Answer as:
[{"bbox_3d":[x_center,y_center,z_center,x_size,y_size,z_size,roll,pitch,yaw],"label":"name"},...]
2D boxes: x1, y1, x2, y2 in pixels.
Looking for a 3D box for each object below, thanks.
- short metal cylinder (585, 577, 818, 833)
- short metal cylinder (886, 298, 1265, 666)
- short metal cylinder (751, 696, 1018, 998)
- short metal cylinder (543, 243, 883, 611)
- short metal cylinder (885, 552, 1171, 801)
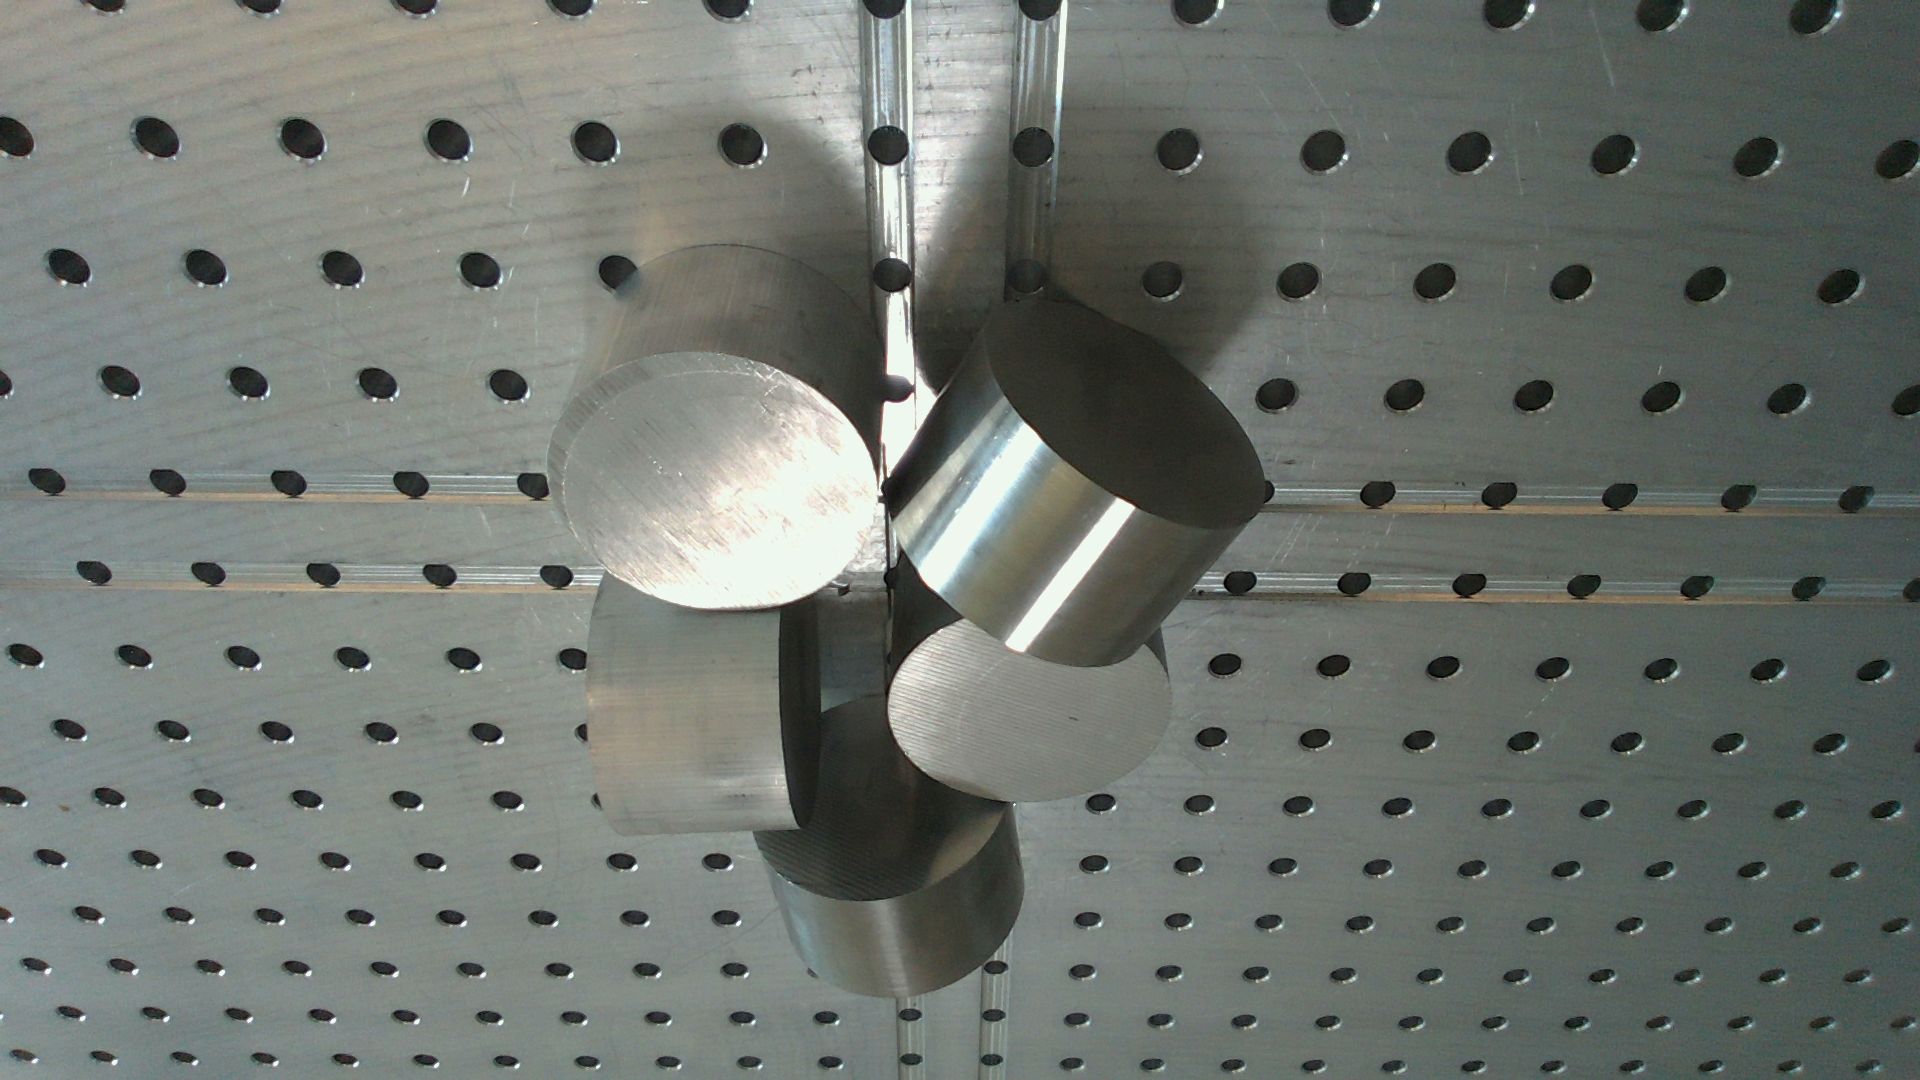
[{"bbox_3d":[-0.071,0.042,0.394,0.050,0.080,0.080,-2,130,1],"label":"short metal cylinder"},{"bbox_3d":[0.028,-0.015,0.345,0.080,0.080,0.050,22,126,-18],"label":"short metal cylinder"},{"bbox_3d":[-0.023,0.096,0.438,0.080,0.080,0.050,-5,130,4],"label":"short metal cylinder"},{"bbox_3d":[-0.060,-0.028,0.353,0.080,0.050,0.080,0,130,1],"label":"short metal cylinder"},{"bbox_3d":[0.019,0.032,0.404,0.080,0.050,0.080,-1,131,0],"label":"short metal cylinder"}]
